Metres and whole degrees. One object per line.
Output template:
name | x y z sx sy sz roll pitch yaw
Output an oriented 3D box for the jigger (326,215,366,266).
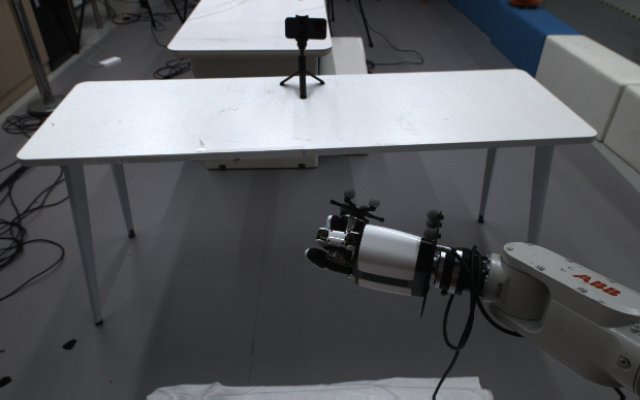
jigger | 0.041 0.060 0.737 0.043 0.043 0.071 15 71 18
